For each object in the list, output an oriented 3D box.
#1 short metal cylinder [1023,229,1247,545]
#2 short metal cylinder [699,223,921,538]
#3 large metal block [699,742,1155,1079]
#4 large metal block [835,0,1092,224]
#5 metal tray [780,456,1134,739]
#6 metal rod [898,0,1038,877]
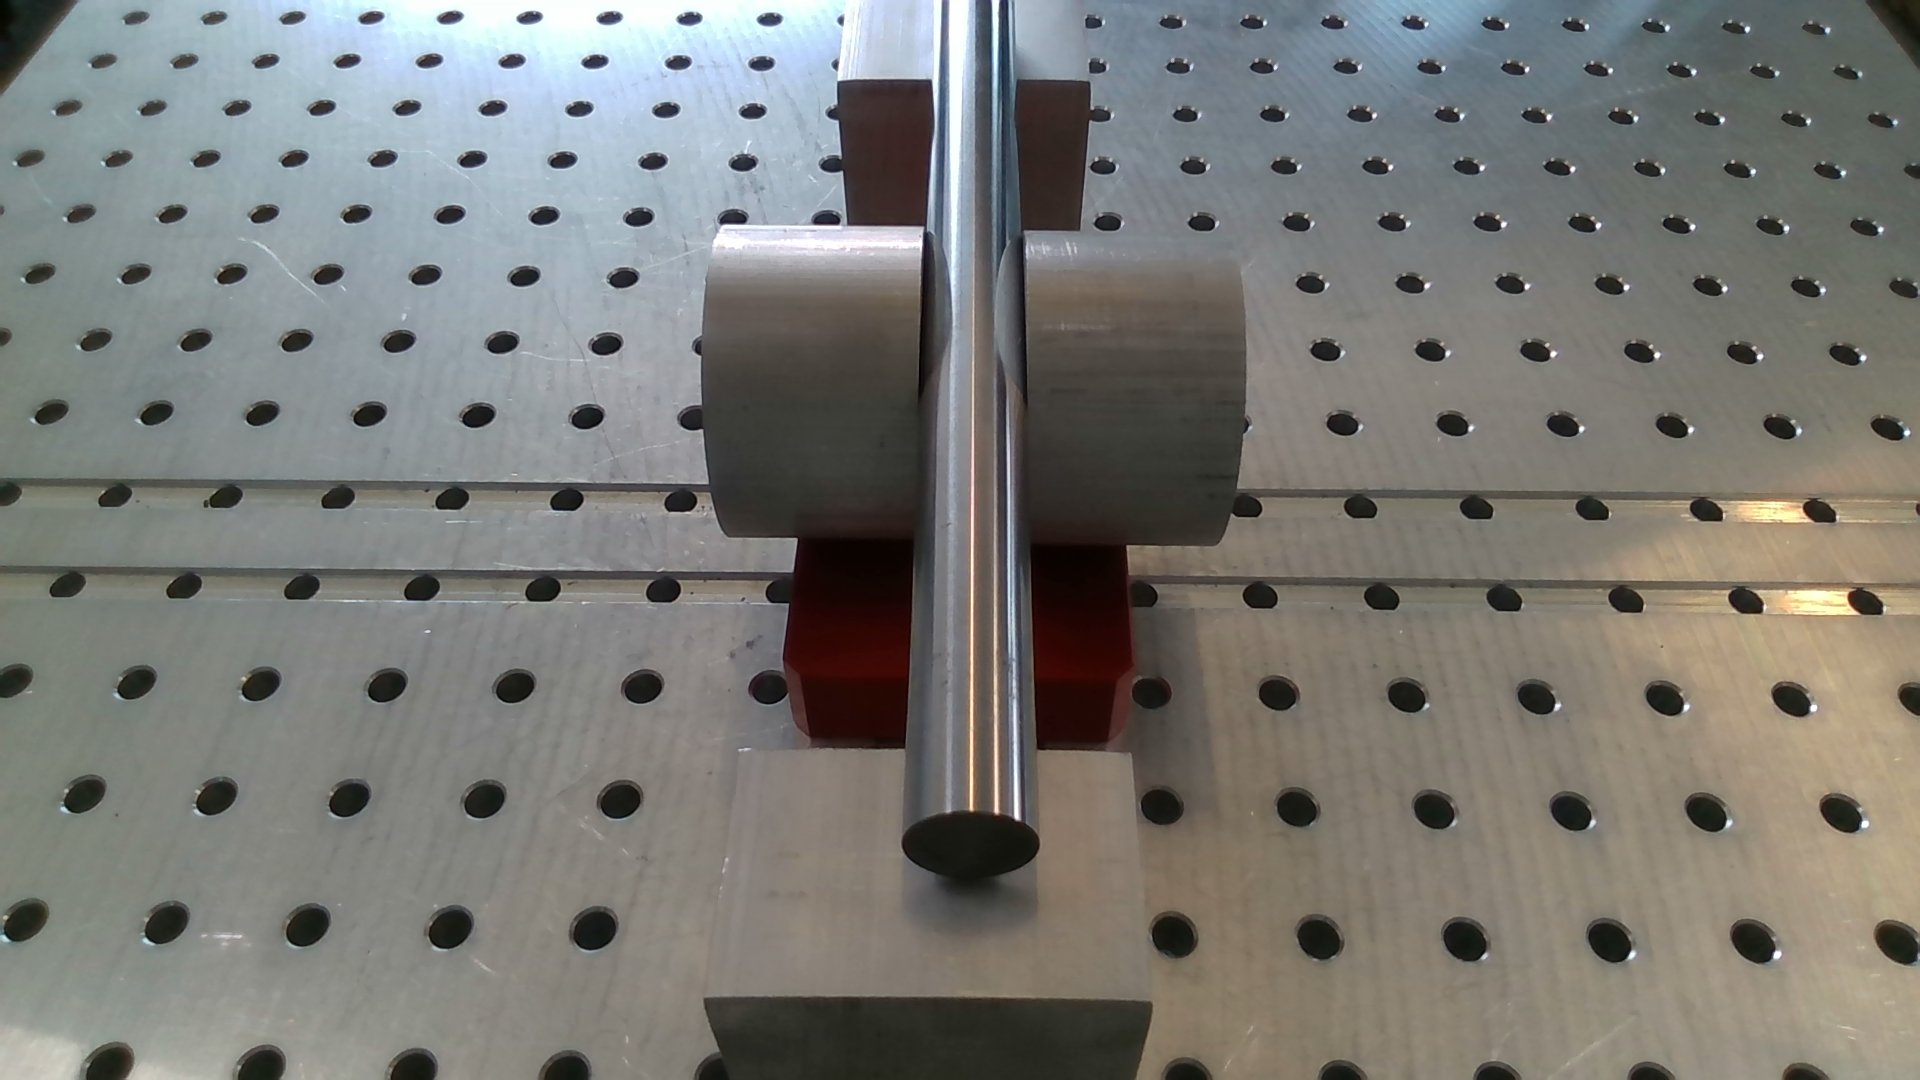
[{"bbox_3d":[0.041,-0.039,0.354,0.050,0.080,0.080,0,50,0],"label":"short metal cylinder"},{"bbox_3d":[-0.035,-0.041,0.356,0.050,0.080,0.080,0,50,0],"label":"short metal cylinder"},{"bbox_3d":[-0.005,0.085,0.288,0.080,0.080,0.050,0,50,0],"label":"large metal block"},{"bbox_3d":[0.001,-0.138,0.474,0.080,0.080,0.050,0,50,0],"label":"large metal block"},{"bbox_3d":[0.001,-0.006,0.399,0.090,0.030,0.130,1,50,1],"label":"metal tray"},{"bbox_3d":[0.003,-0.060,0.342,0.025,0.025,0.299,0,50,0],"label":"metal rod"}]
